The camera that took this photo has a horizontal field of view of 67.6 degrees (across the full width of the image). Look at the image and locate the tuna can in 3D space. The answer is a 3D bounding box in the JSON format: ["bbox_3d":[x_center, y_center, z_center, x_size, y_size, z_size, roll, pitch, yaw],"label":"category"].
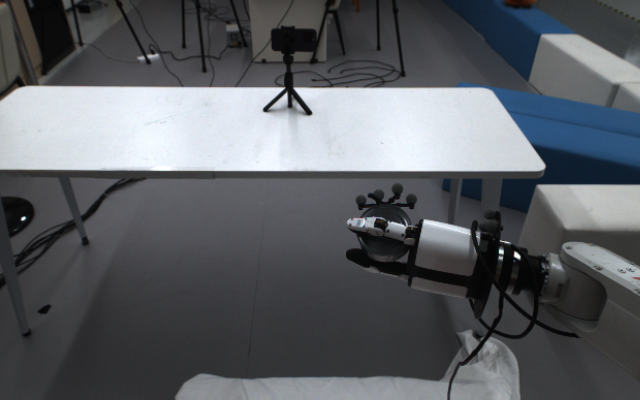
[{"bbox_3d":[0.100,0.051,0.743,0.085,0.034,0.085,-6,61,10],"label":"tuna can"}]
